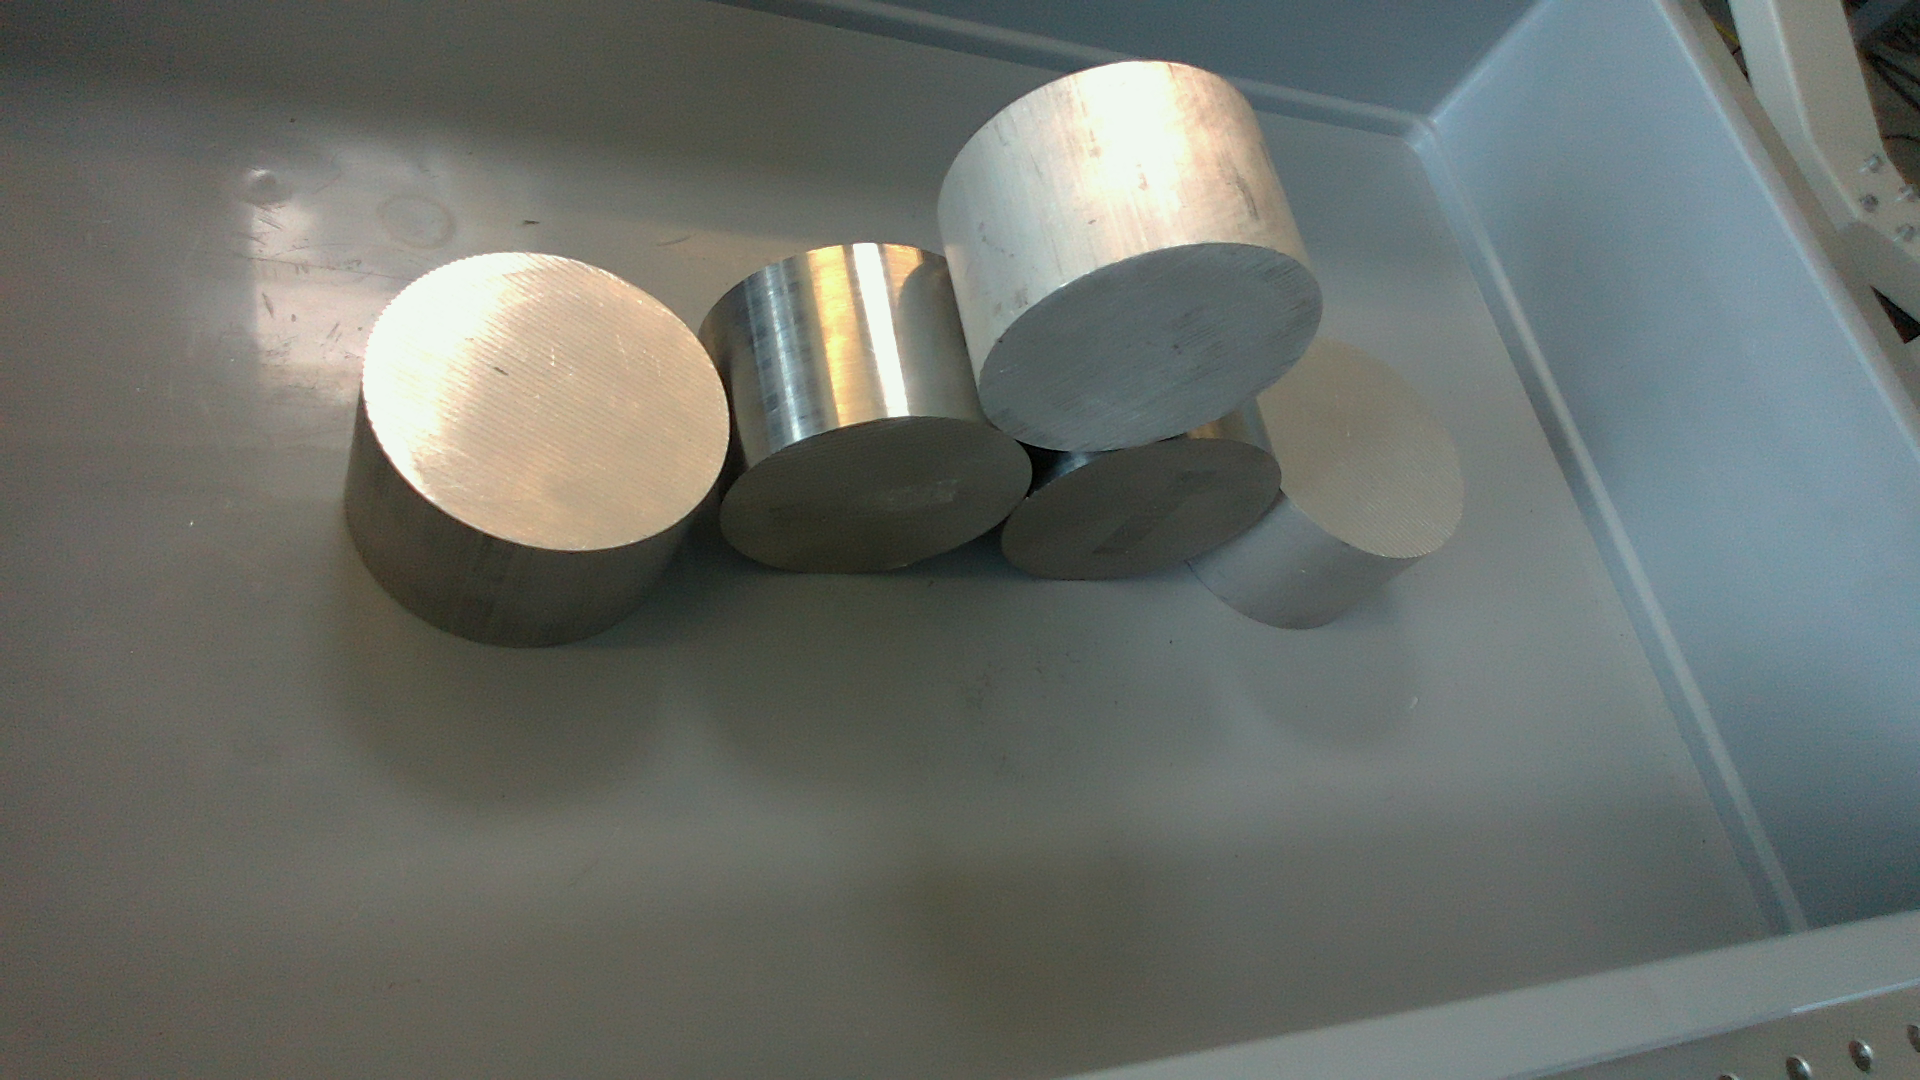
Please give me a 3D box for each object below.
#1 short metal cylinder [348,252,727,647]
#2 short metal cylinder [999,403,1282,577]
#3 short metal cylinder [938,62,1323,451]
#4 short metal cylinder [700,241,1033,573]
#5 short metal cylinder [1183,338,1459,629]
[{"bbox_3d":[-0.102,-0.021,0.330,0.080,0.050,0.080,14,56,-21],"label":"short metal cylinder"},{"bbox_3d":[0.046,-0.030,0.395,0.080,0.080,0.050,2,61,-27],"label":"short metal cylinder"},{"bbox_3d":[0.038,-0.064,0.324,0.080,0.080,0.050,2,61,-27],"label":"short metal cylinder"},{"bbox_3d":[-0.025,-0.032,0.358,0.080,0.080,0.050,2,61,-27],"label":"short metal cylinder"},{"bbox_3d":[0.111,-0.018,0.443,0.080,0.050,0.080,14,56,-21],"label":"short metal cylinder"}]
